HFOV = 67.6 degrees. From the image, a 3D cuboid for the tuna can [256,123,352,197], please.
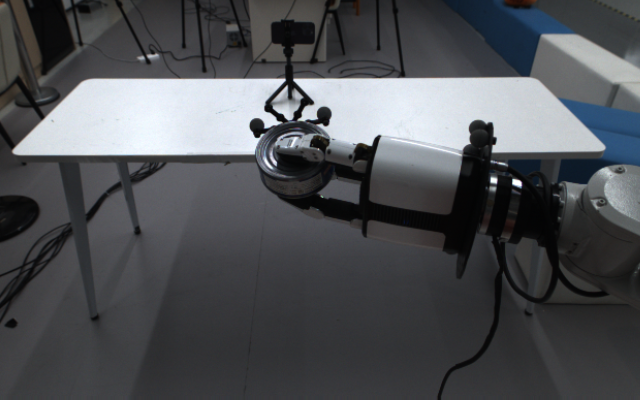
[{"bbox_3d":[-0.022,-0.039,0.533,0.085,0.034,0.085,-3,60,5],"label":"tuna can"}]
